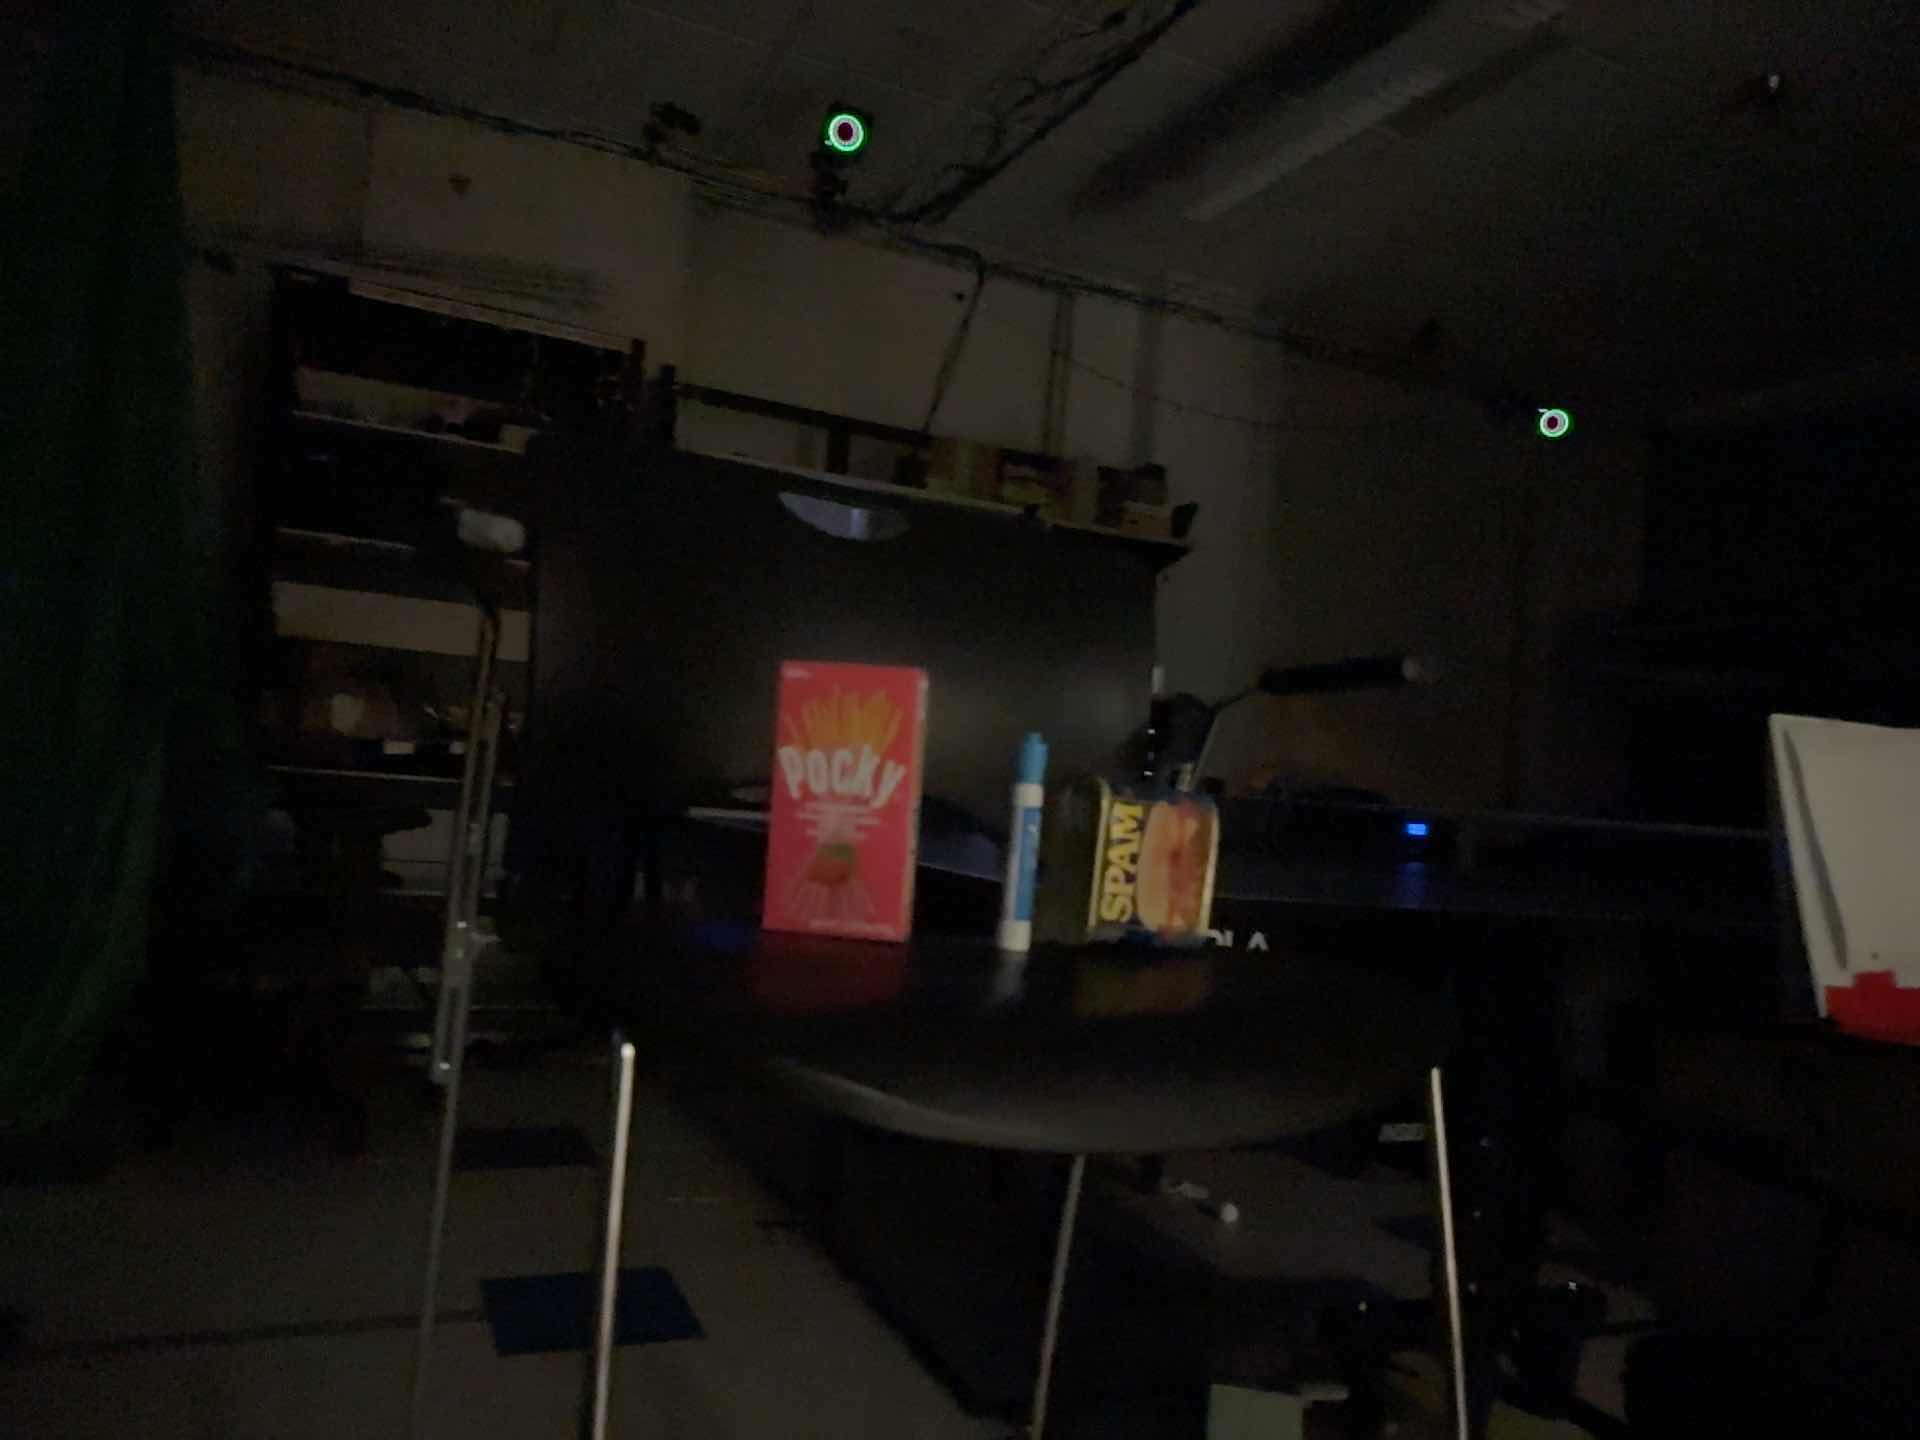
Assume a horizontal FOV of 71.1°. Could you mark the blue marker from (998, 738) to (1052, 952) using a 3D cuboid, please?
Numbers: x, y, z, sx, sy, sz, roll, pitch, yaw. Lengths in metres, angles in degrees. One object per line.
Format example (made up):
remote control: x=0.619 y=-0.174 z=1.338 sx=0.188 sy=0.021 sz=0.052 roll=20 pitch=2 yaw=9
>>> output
blue marker: x=0.037 y=0.071 z=0.767 sx=0.020 sy=0.121 sz=0.020 roll=6 pitch=1 yaw=0

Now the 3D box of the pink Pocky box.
pink Pocky box: x=-0.066 y=0.044 z=0.760 sx=0.084 sy=0.155 sz=0.029 roll=4 pitch=1 yaw=11

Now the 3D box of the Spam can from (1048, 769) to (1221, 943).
Spam can: x=0.107 y=0.084 z=0.815 sx=0.083 sy=0.100 sz=0.056 roll=8 pitch=-2 yaw=-30
